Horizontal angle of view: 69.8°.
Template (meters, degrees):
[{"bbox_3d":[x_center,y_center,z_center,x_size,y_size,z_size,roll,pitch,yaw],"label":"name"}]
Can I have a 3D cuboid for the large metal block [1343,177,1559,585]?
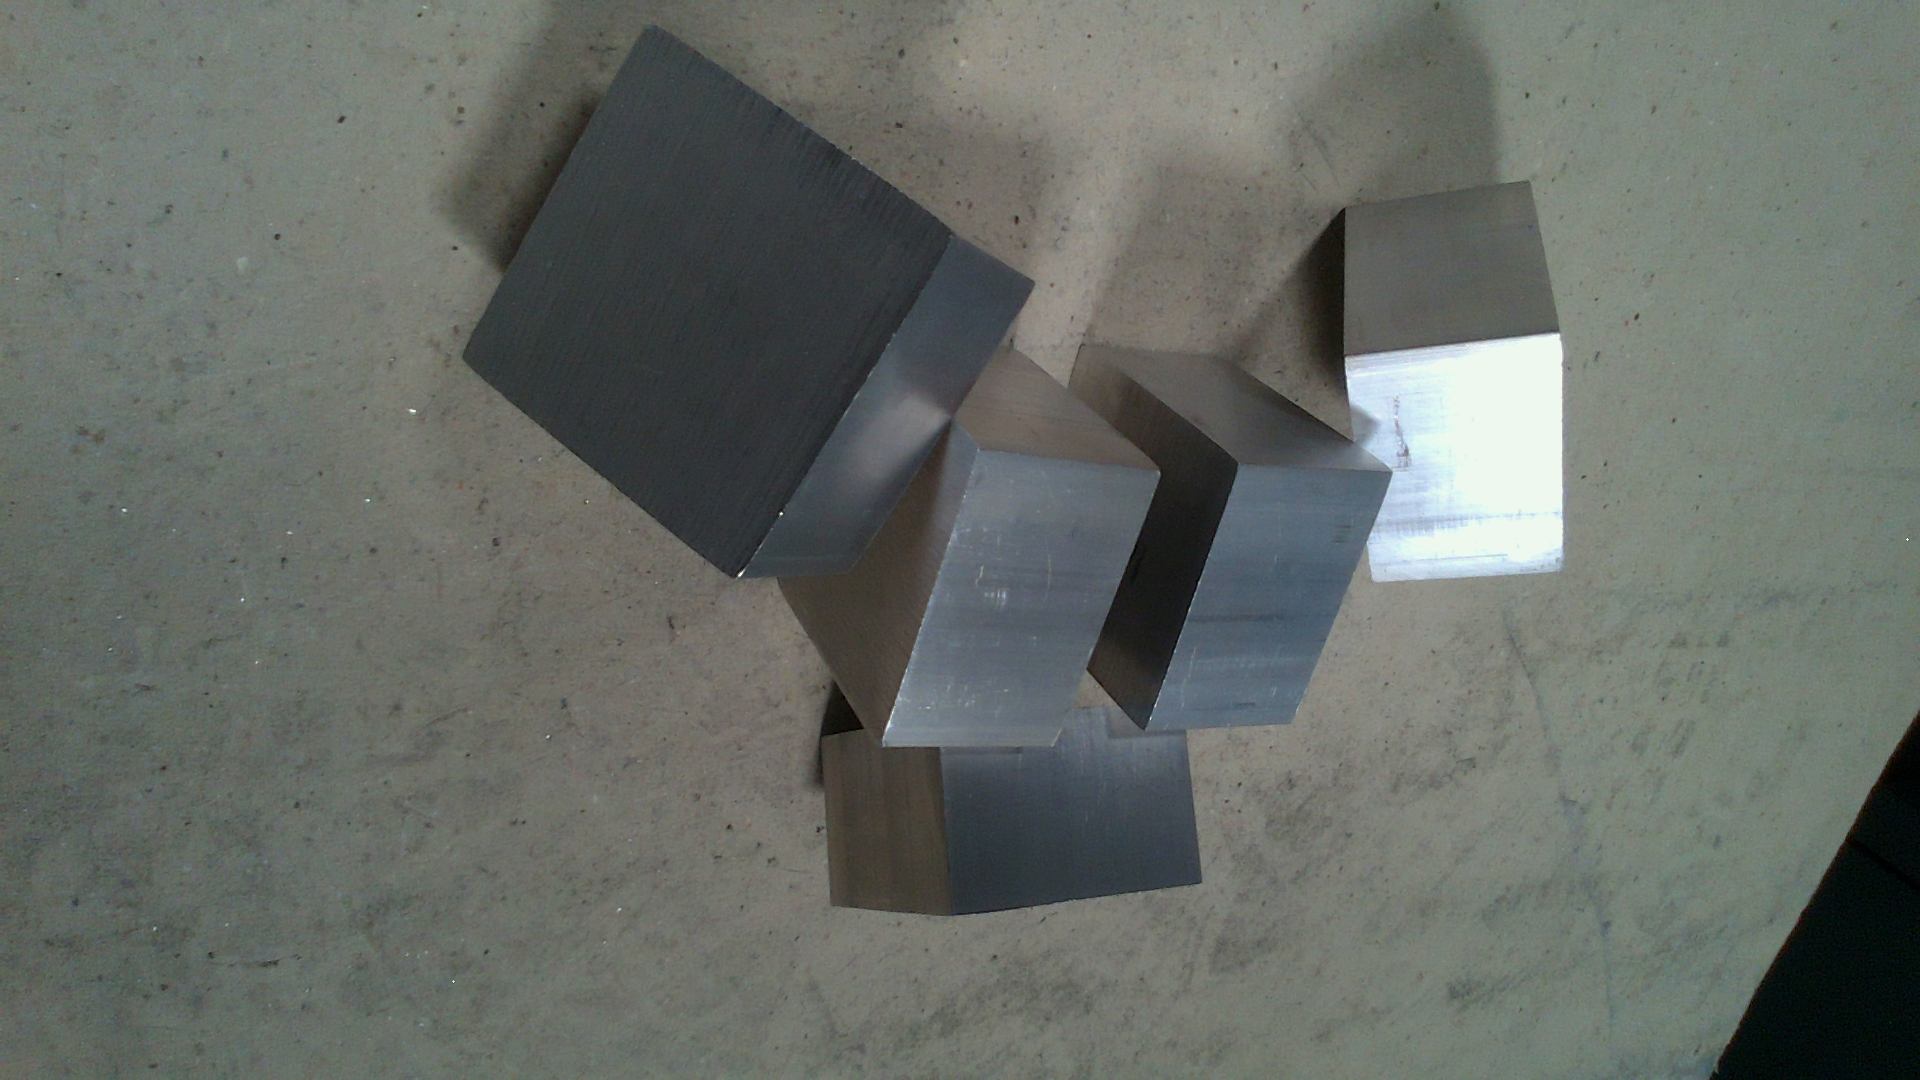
[{"bbox_3d":[0.140,-0.045,0.394,0.050,0.080,0.080,-5,129,19],"label":"large metal block"}]

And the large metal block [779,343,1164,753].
[{"bbox_3d":[-0.003,-0.002,0.351,0.050,0.080,0.080,5,116,-30],"label":"large metal block"}]

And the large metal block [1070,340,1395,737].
[{"bbox_3d":[0.063,-0.002,0.387,0.050,0.080,0.080,1,118,-29],"label":"large metal block"}]

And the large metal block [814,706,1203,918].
[{"bbox_3d":[0.011,0.077,0.400,0.080,0.080,0.050,1,79,-29],"label":"large metal block"}]

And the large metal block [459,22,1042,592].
[{"bbox_3d":[-0.043,-0.046,0.291,0.080,0.080,0.050,-56,164,12],"label":"large metal block"}]
